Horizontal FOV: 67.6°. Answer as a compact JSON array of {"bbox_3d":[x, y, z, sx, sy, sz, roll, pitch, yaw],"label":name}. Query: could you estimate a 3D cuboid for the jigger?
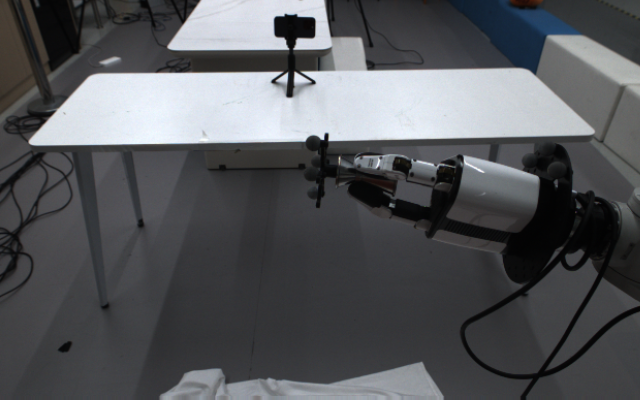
[{"bbox_3d":[0.061,-0.033,0.560,0.071,0.043,0.043,5,35,3],"label":"jigger"}]
